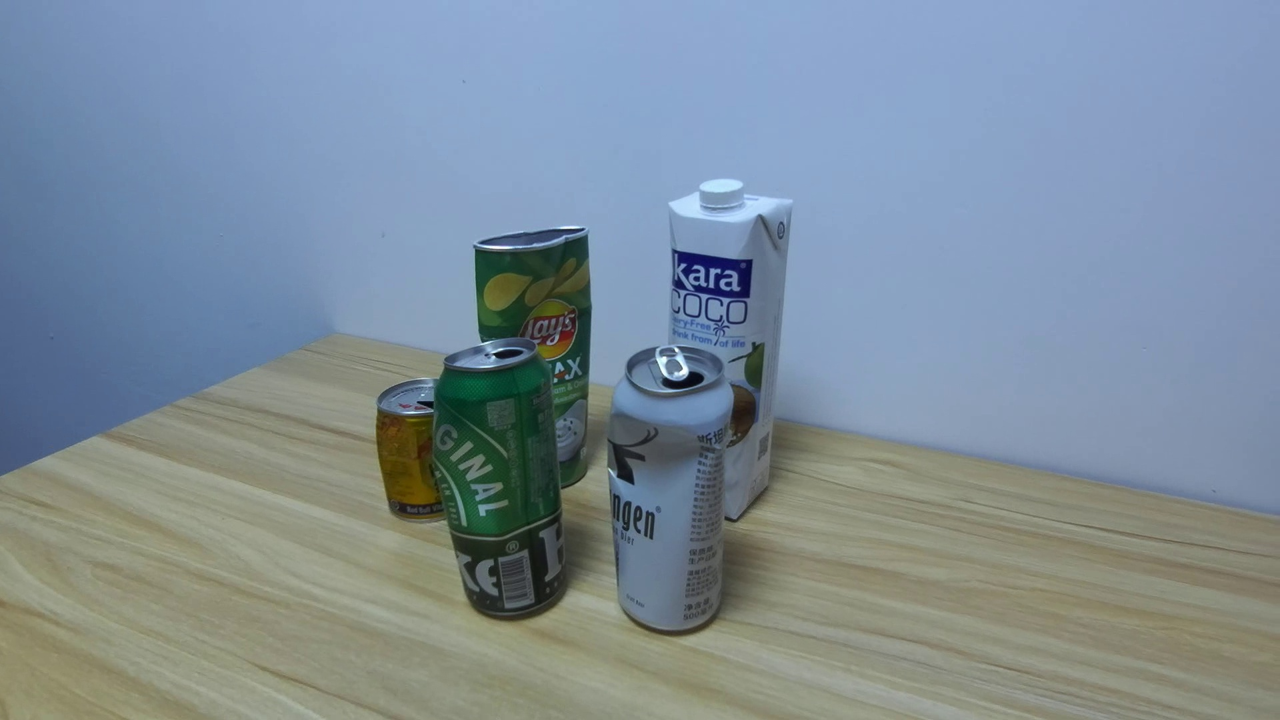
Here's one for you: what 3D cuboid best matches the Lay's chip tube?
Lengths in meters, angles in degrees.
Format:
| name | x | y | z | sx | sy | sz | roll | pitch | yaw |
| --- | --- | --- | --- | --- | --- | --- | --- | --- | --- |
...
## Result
| name | x | y | z | sx | sy | sz | roll | pitch | yaw |
| --- | --- | --- | --- | --- | --- | --- | --- | --- | --- |
| Lay's chip tube | -0.079 | 0.000 | 0.562 | 0.069 | 0.199 | 0.075 | 6 | 25 | 12 |

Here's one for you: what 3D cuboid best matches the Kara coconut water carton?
| name | x | y | z | sx | sy | sz | roll | pitch | yaw |
| --- | --- | --- | --- | --- | --- | --- | --- | --- | --- |
| Kara coconut water carton | 0.061 | -0.008 | 0.518 | 0.076 | 0.245 | 0.075 | 14 | 26 | 30 |

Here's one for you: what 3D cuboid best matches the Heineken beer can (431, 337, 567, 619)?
| name | x | y | z | sx | sy | sz | roll | pitch | yaw |
| --- | --- | --- | --- | --- | --- | --- | --- | --- | --- |
| Heineken beer can | -0.084 | 0.074 | 0.436 | 0.068 | 0.168 | 0.069 | -3 | 20 | -3 |

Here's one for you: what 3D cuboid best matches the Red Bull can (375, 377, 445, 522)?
| name | x | y | z | sx | sy | sz | roll | pitch | yaw |
| --- | --- | --- | --- | --- | --- | --- | --- | --- | --- |
| Red Bull can | -0.172 | 0.071 | 0.561 | 0.072 | 0.092 | 0.072 | 2 | 22 | 0 |

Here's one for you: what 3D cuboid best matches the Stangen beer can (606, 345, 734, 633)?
| name | x | y | z | sx | sy | sz | roll | pitch | yaw |
| --- | --- | --- | --- | --- | --- | --- | --- | --- | --- |
| Stangen beer can | 0.018 | 0.078 | 0.416 | 0.070 | 0.173 | 0.070 | -5 | 25 | -9 |
